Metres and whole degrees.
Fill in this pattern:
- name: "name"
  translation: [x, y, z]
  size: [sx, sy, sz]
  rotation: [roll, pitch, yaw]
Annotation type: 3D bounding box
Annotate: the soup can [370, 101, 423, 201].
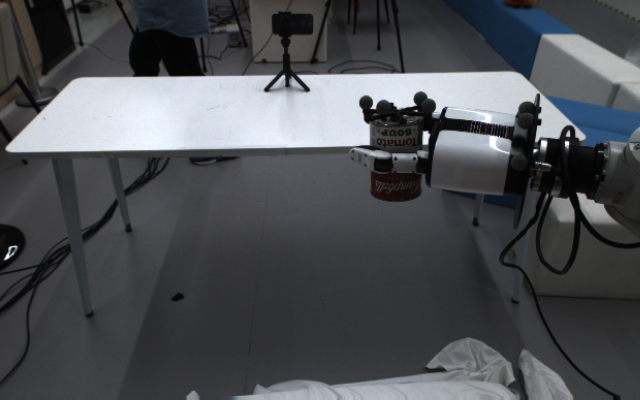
- name: "soup can"
  translation: [0.099, -0.058, 0.618]
  size: [0.067, 0.101, 0.067]
  rotation: [-3, 26, 2]
